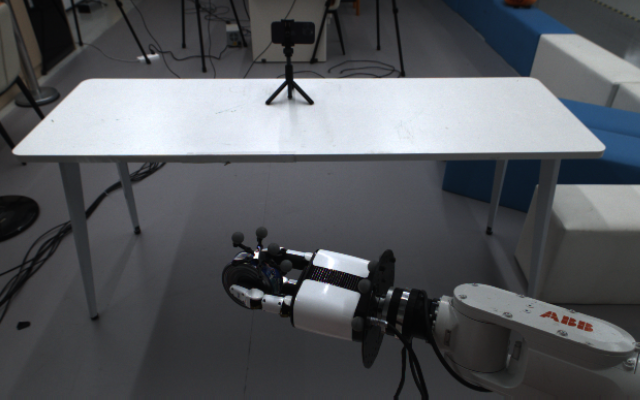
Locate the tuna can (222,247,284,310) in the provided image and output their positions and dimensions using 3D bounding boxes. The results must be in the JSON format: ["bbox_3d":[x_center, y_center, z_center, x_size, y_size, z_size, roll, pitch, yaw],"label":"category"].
[{"bbox_3d":[-0.096,0.124,0.701,0.085,0.085,0.034,15,30,18],"label":"tuna can"}]
